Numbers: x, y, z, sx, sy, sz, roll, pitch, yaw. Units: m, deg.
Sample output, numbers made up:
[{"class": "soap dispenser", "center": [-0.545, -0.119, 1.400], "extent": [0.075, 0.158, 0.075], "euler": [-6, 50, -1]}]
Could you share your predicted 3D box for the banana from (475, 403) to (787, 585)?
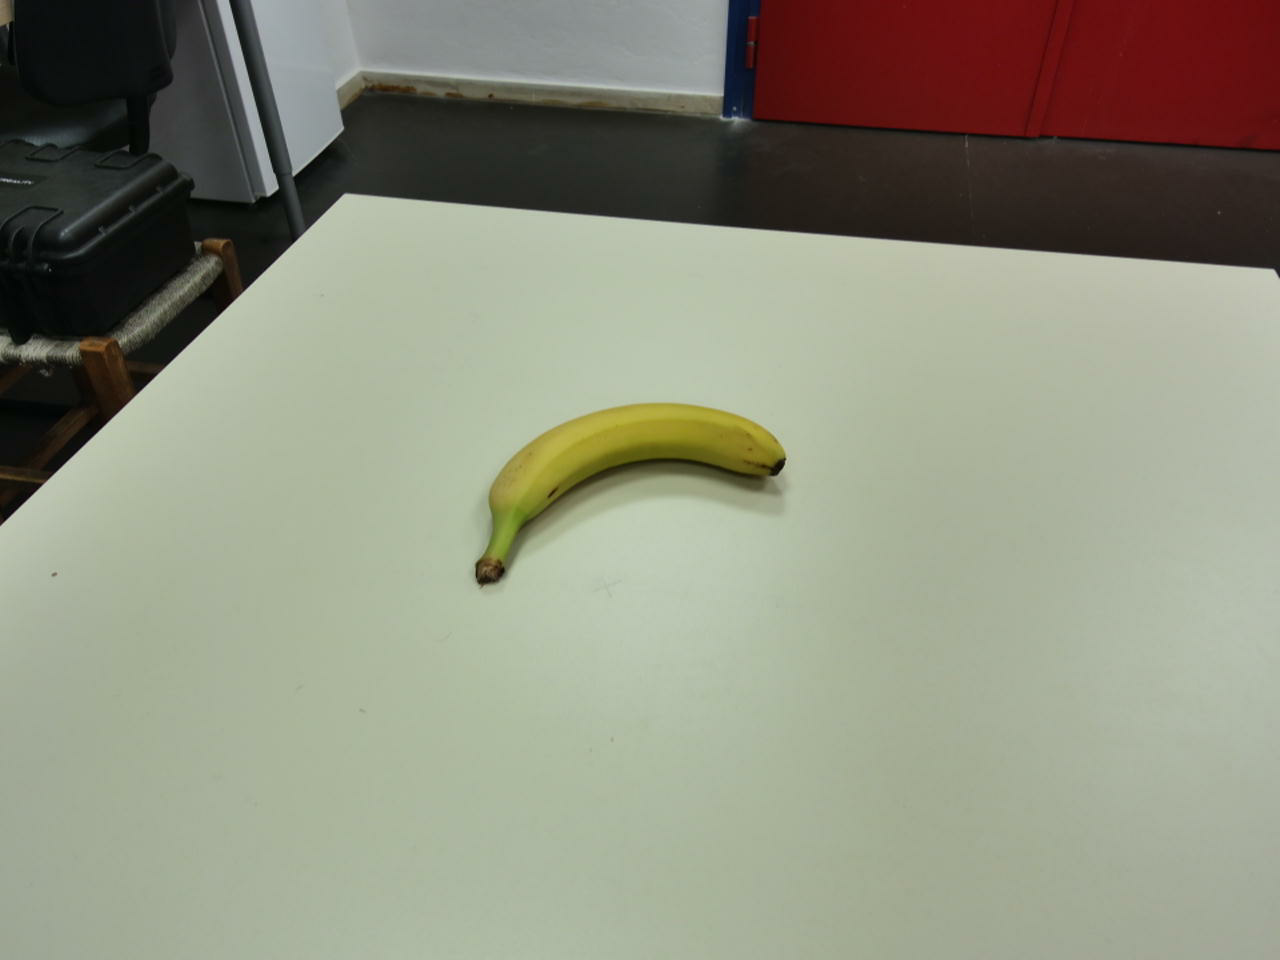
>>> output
[{"class": "banana", "center": [-0.017, -0.007, 0.601], "extent": [0.196, 0.041, 0.094], "euler": [-16, 41, -18]}]
